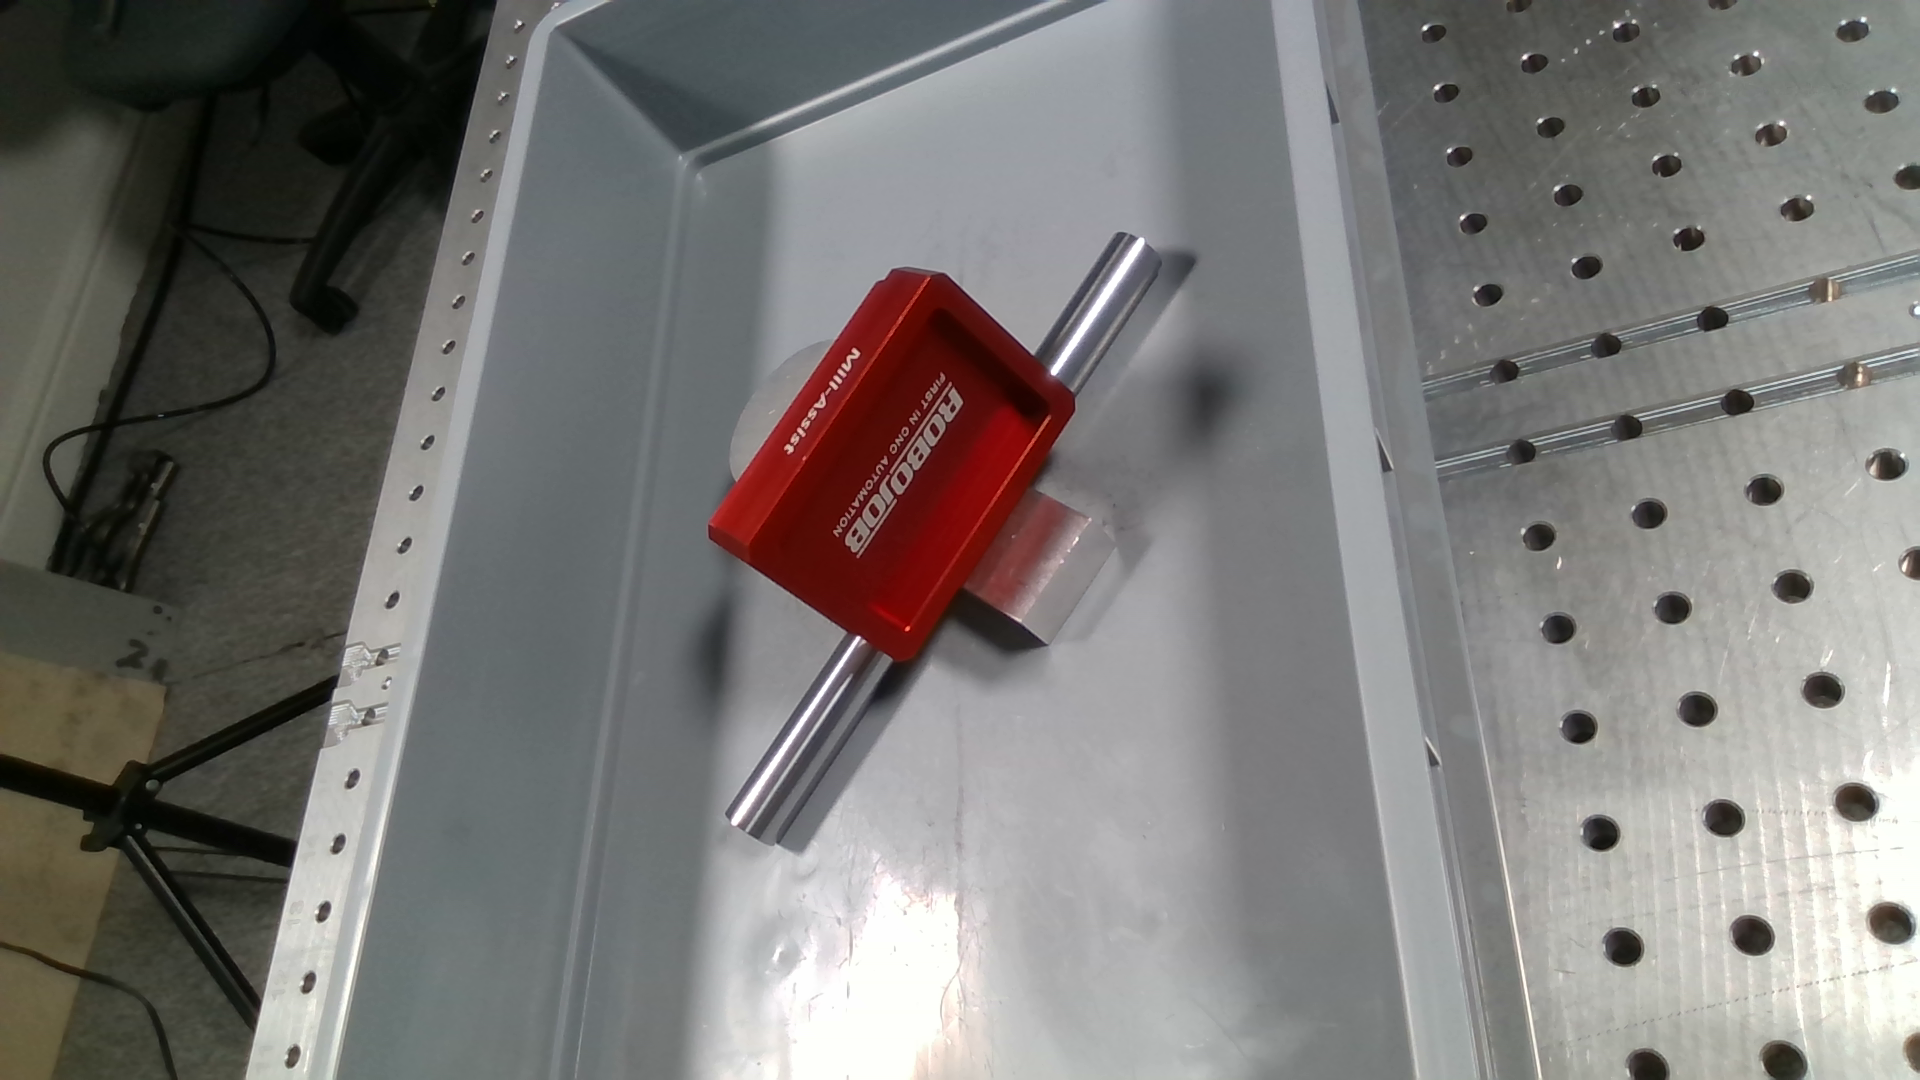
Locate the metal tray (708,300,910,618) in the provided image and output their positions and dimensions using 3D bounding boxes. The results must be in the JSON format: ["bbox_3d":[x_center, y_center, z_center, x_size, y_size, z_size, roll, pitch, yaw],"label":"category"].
[{"bbox_3d":[-0.036,-0.032,0.582,0.030,0.090,0.130,29,83,39],"label":"metal tray"}]

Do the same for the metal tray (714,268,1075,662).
[{"bbox_3d":[-0.023,-0.029,0.539,0.130,0.090,0.030,-56,34,-6],"label":"metal tray"}]

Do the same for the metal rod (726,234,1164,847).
[{"bbox_3d":[-0.004,-0.003,0.590,0.025,0.025,0.300,29,83,39],"label":"metal rod"}]

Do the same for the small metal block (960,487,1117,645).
[{"bbox_3d":[0.027,0.007,0.563,0.050,0.025,0.050,31,84,39],"label":"small metal block"}]

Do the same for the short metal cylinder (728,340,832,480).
[{"bbox_3d":[-0.057,-0.042,0.618,0.080,0.050,0.080,-22,50,28],"label":"short metal cylinder"}]
